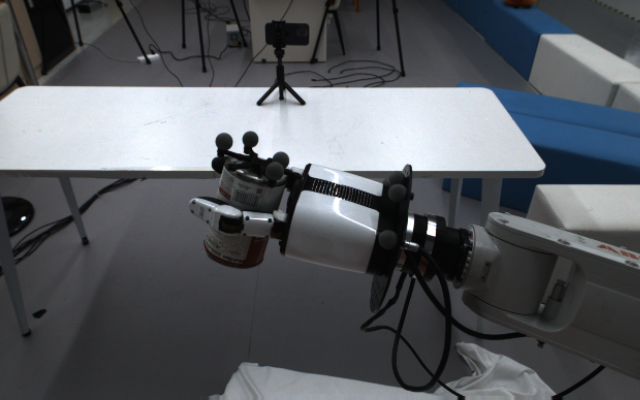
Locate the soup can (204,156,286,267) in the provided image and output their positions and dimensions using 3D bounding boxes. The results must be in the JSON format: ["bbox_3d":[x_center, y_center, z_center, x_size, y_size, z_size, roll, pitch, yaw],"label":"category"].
[{"bbox_3d":[-0.077,0.012,0.513,0.067,0.101,0.067,16,21,-7],"label":"soup can"}]
